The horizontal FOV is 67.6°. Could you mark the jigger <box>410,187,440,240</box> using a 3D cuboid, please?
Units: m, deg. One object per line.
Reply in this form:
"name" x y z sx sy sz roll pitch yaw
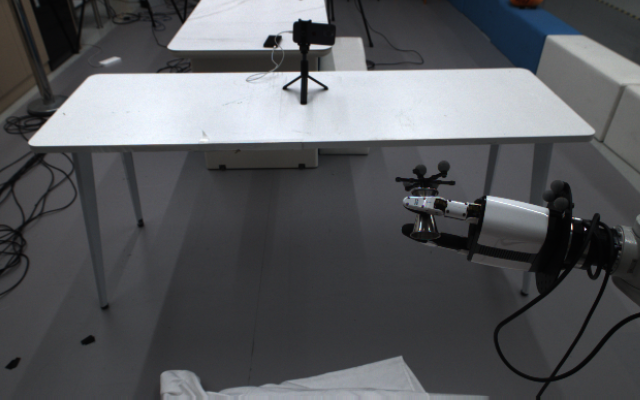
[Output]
"jigger" 0.154 0.019 0.715 0.043 0.043 0.071 3 71 2
